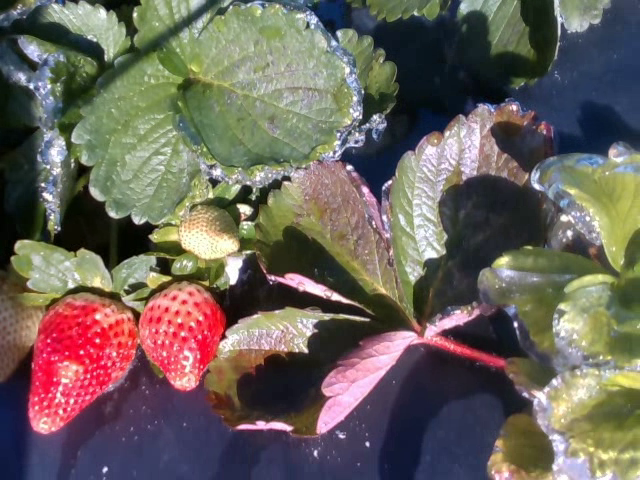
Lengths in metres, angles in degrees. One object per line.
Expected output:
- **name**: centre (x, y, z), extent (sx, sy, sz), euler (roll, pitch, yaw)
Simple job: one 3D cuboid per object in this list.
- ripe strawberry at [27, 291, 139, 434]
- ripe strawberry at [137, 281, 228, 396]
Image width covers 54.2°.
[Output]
- **ripe strawberry**: centre (-0.085, 0.047, 0.212), extent (0.036, 0.052, 0.040), euler (-10, -46, 28)
- **ripe strawberry**: centre (-0.047, 0.035, 0.211), extent (0.036, 0.041, 0.030), euler (-37, -26, 23)
